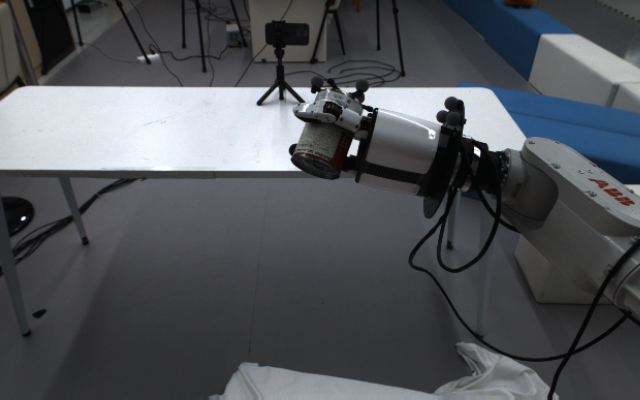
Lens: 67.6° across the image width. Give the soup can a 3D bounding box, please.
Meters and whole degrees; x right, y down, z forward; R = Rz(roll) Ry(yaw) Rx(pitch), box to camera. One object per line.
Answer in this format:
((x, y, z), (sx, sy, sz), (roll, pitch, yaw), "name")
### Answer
((0.011, -0.087, 0.641), (0.067, 0.067, 0.101), (15, 75, 18), "soup can")
